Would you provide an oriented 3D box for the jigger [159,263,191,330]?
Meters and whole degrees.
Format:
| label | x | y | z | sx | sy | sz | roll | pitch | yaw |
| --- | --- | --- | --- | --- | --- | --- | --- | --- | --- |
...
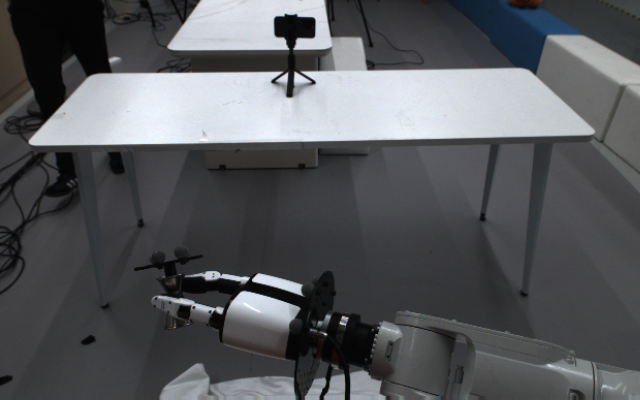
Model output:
| label | x | y | z | sx | sy | sz | roll | pitch | yaw |
| --- | --- | --- | --- | --- | --- | --- | --- | --- | --- |
| jigger | -0.191 | 0.135 | 0.650 | 0.043 | 0.071 | 0.043 | -12 | -3 | -1 |
